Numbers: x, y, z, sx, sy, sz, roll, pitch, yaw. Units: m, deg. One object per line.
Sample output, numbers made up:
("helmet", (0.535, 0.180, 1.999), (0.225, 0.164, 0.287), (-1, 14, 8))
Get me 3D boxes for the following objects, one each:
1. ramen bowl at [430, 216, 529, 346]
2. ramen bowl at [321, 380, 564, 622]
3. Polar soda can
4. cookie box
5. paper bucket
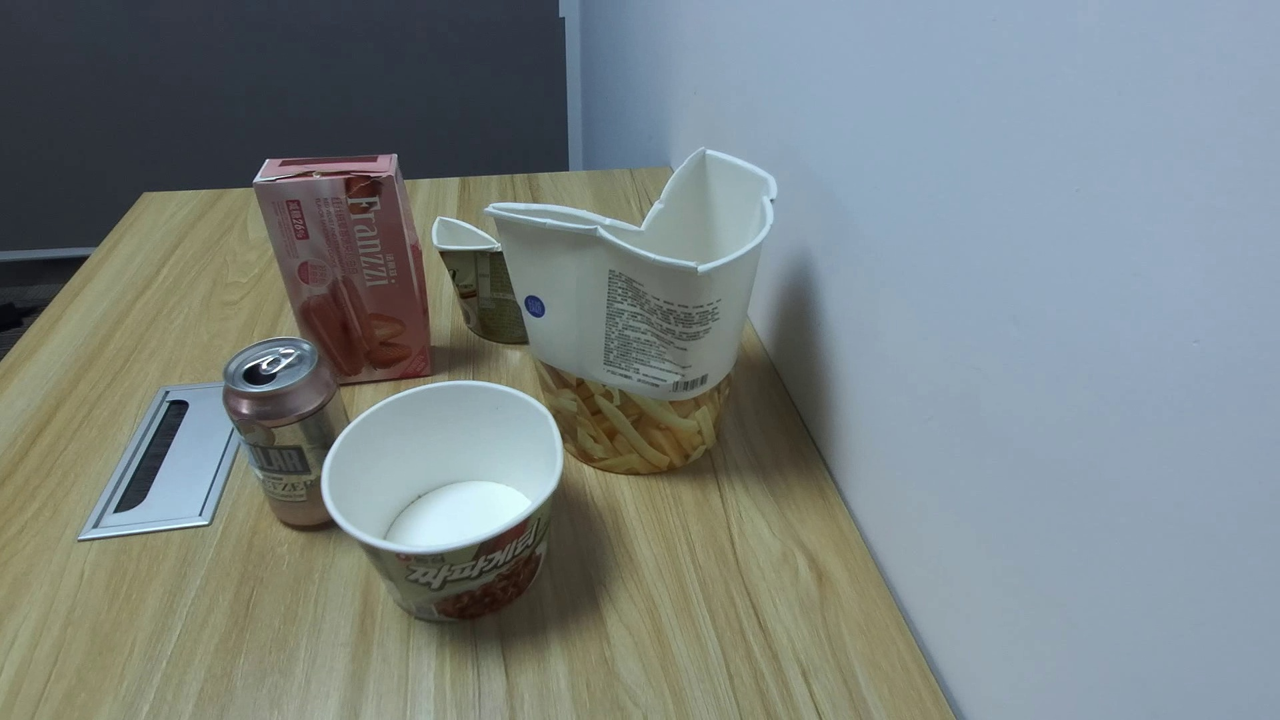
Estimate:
("ramen bowl", (-0.123, -0.085, 0.673), (0.128, 0.093, 0.111), (9, 40, 9))
("ramen bowl", (-0.117, 0.095, 0.451), (0.140, 0.095, 0.140), (1, 36, -1))
("Polar soda can", (-0.227, 0.051, 0.469), (0.067, 0.126, 0.067), (0, 36, 0))
("cookie box", (-0.227, -0.070, 0.570), (0.105, 0.188, 0.048), (-7, 39, -12))
("paper bucket", (0.007, -0.039, 0.532), (0.168, 0.202, 0.163), (22, 42, 20))
